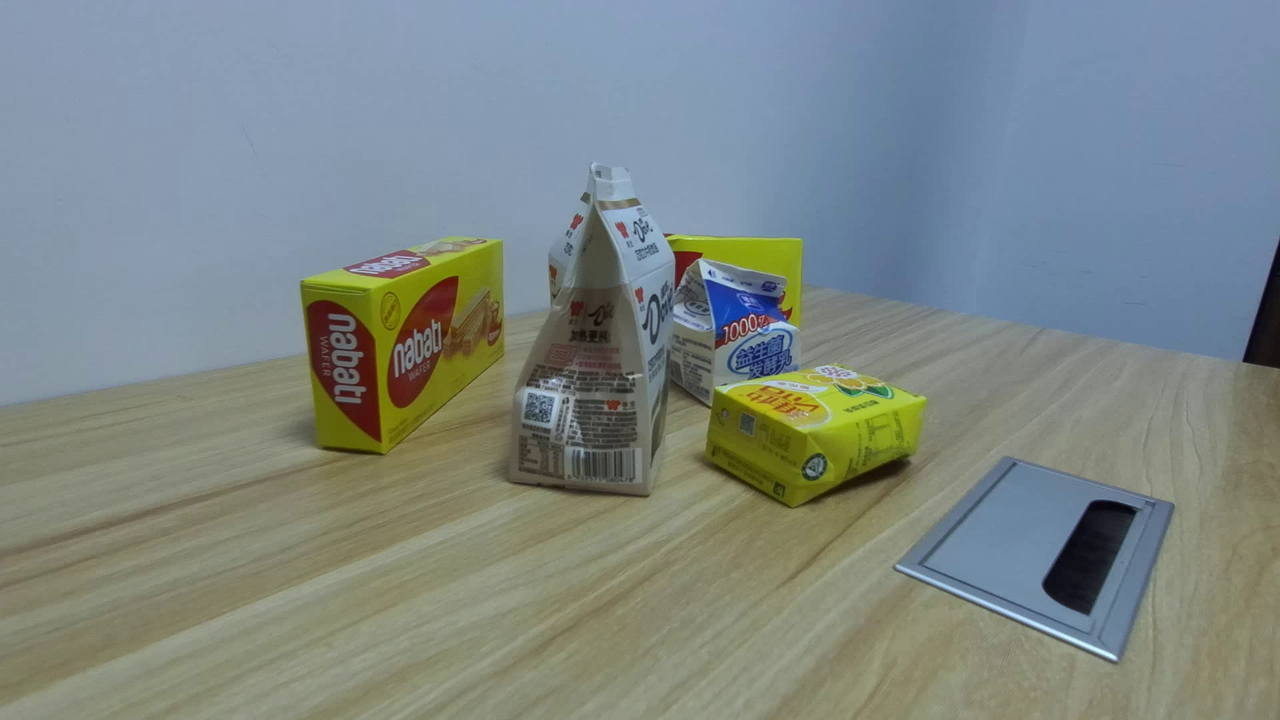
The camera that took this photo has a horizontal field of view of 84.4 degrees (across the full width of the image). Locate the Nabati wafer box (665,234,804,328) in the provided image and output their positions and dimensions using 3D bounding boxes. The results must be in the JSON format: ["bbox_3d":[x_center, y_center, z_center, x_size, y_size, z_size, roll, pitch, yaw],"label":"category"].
[{"bbox_3d":[0.042,-0.058,0.607,0.204,0.096,0.042,-1,10,-15],"label":"Nabati wafer box"}]

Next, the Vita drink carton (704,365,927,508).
[{"bbox_3d":[0.099,0.038,0.384,0.109,0.043,0.076,-8,22,-38],"label":"Vita drink carton"}]

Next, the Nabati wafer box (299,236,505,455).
[{"bbox_3d":[-0.137,-0.021,0.456,0.042,0.093,0.203,5,17,8],"label":"Nabati wafer box"}]

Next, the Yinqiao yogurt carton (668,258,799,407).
[{"bbox_3d":[0.064,-0.024,0.490,0.083,0.093,0.077,-5,18,-23],"label":"Yinqiao yogurt carton"}]

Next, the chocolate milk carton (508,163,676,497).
[{"bbox_3d":[-0.022,-0.019,0.357,0.073,0.155,0.084,5,17,7],"label":"chocolate milk carton"}]
